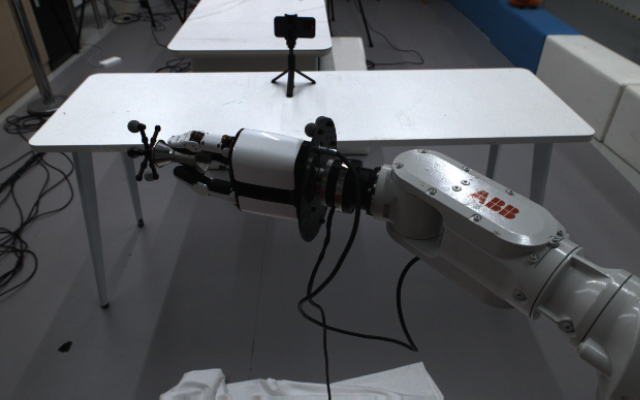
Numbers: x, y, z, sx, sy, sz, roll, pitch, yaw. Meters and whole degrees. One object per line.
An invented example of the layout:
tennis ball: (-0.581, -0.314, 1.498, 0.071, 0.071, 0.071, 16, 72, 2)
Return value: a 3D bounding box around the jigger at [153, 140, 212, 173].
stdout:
jigger: (-0.186, -0.064, 0.674, 0.071, 0.043, 0.043, 6, 35, 13)
